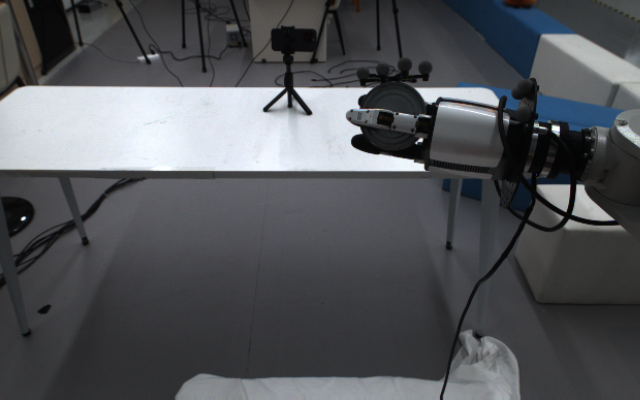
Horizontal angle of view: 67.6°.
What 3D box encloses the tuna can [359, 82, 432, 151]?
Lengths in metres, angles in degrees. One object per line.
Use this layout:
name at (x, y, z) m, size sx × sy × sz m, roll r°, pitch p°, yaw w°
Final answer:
tuna can at (0.095, -0.108, 0.623) m, size 0.085 × 0.085 × 0.034 m, roll 15°, pitch 10°, yaw 18°
